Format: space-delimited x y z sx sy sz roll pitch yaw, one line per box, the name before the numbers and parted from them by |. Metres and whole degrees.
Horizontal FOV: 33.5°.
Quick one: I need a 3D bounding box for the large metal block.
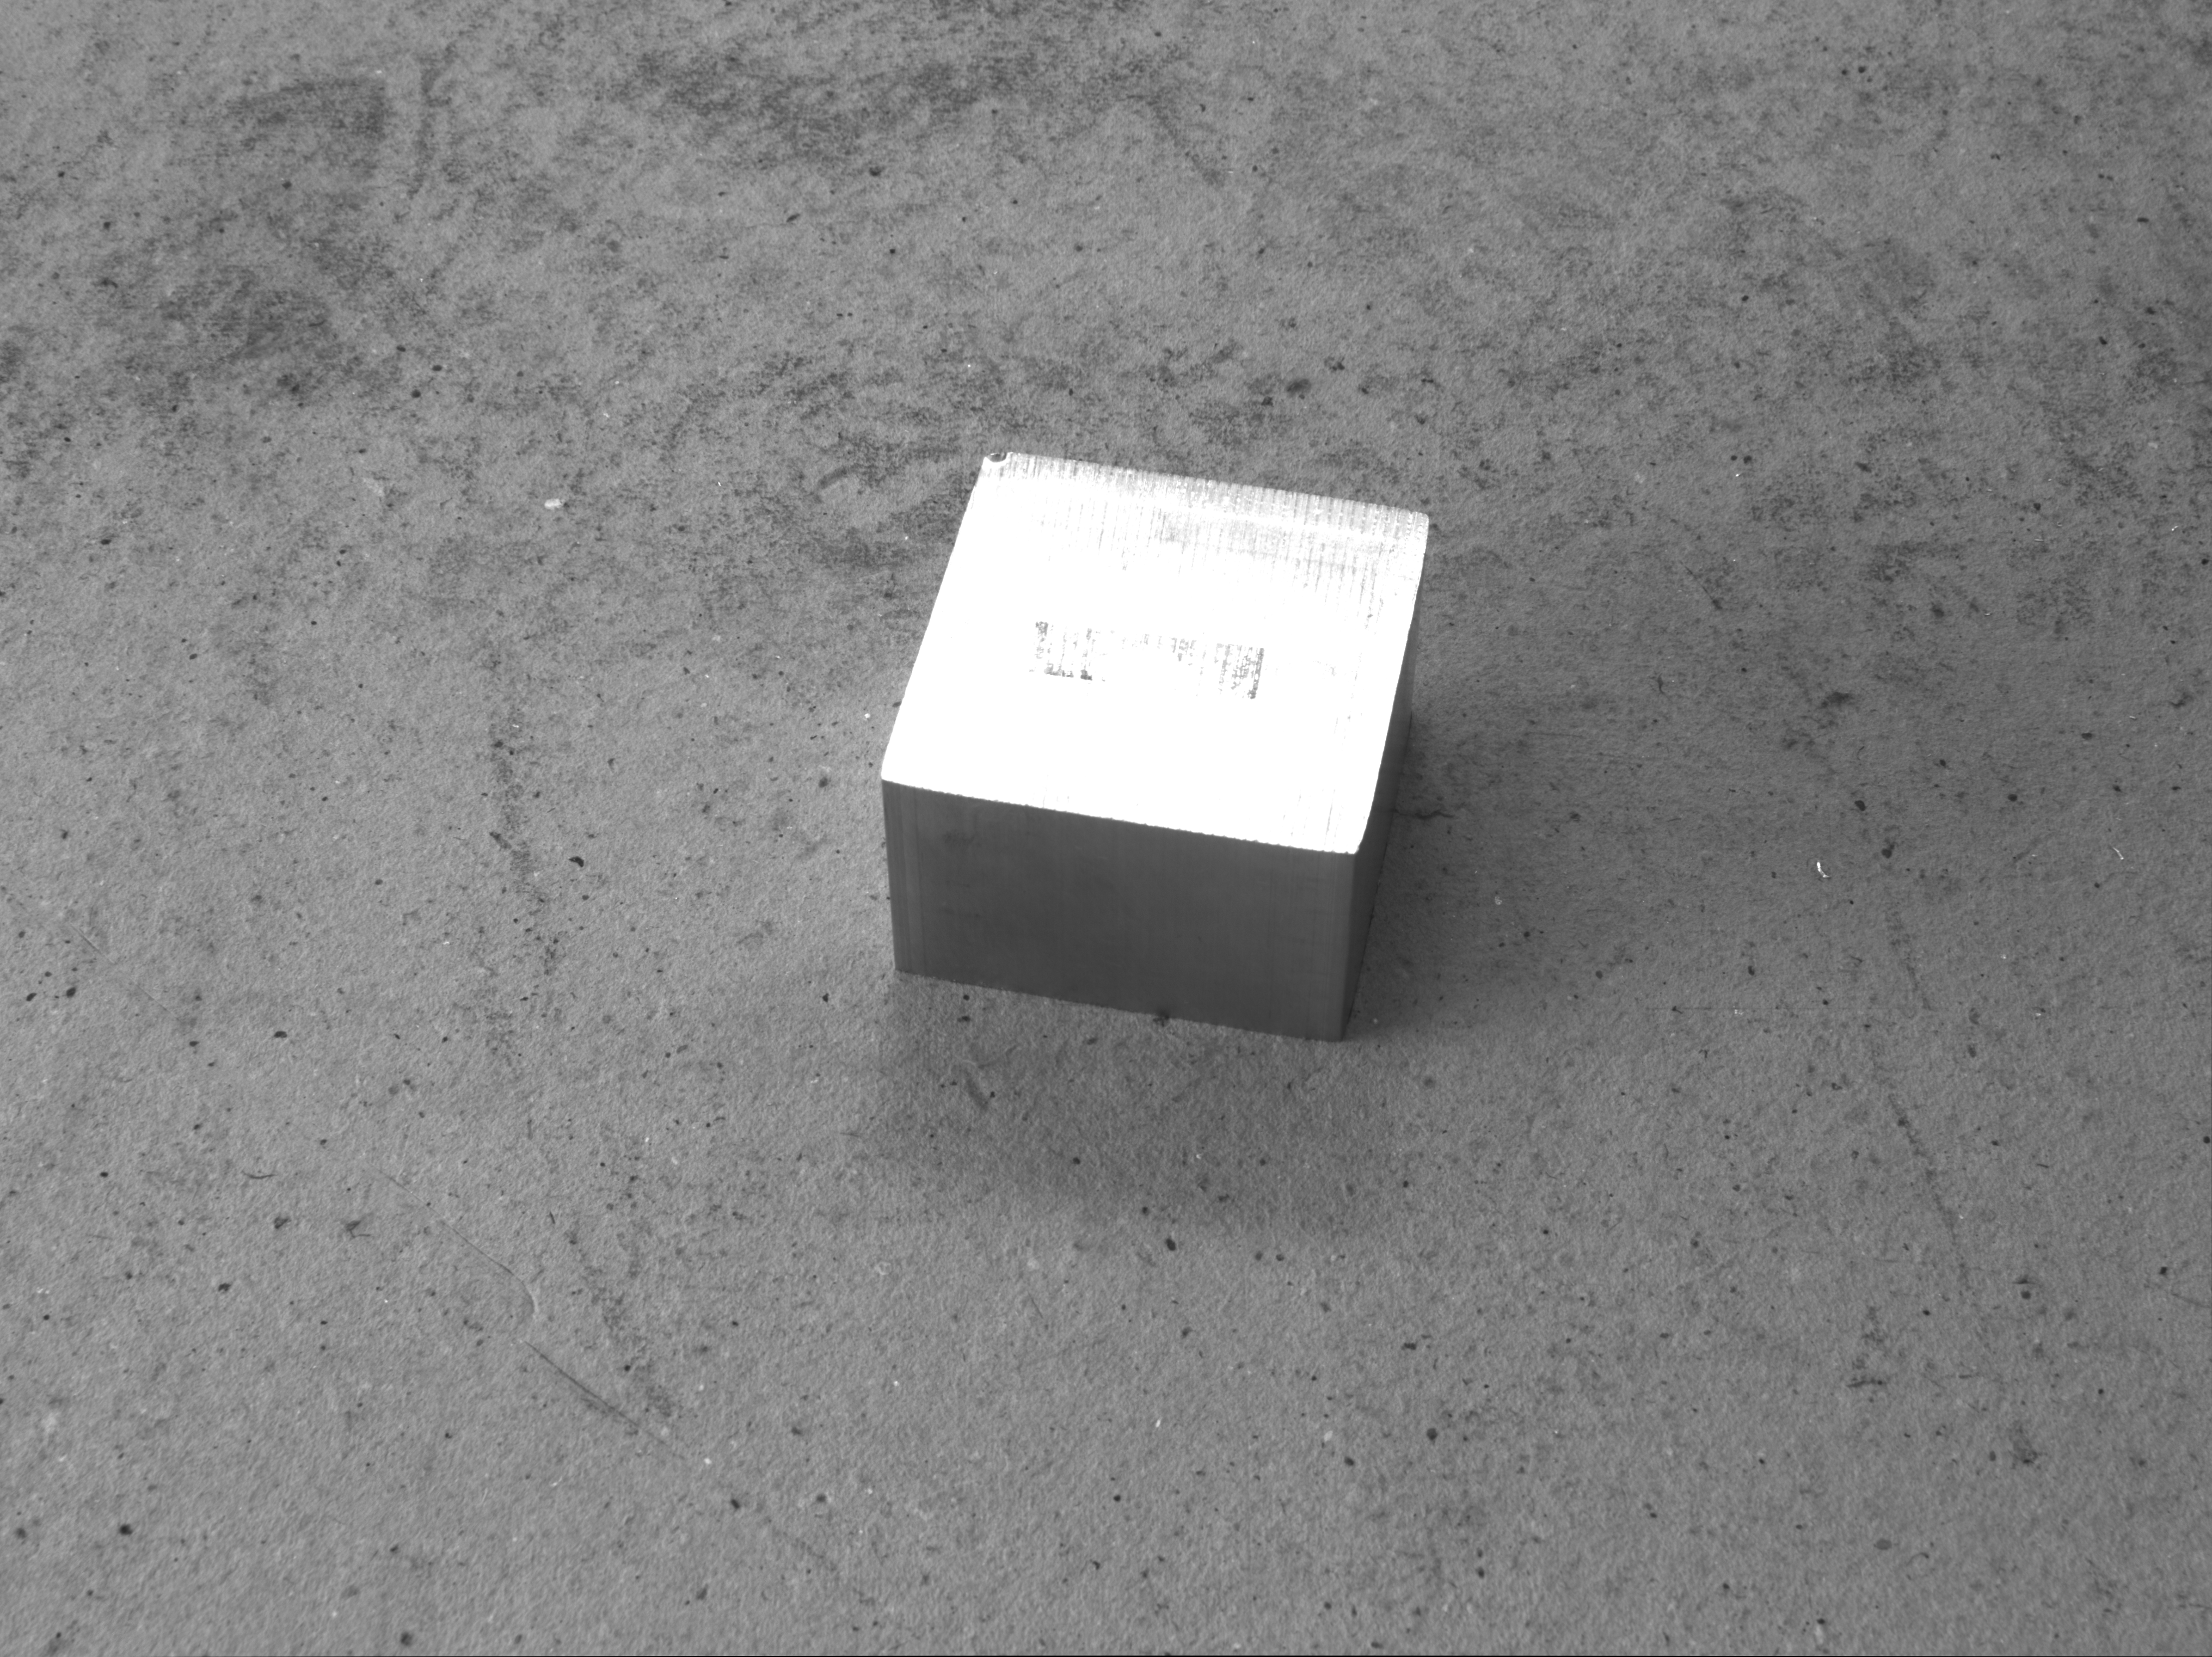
large metal block | 0.009 -0.015 0.639 0.080 0.050 0.080 10 51 7
